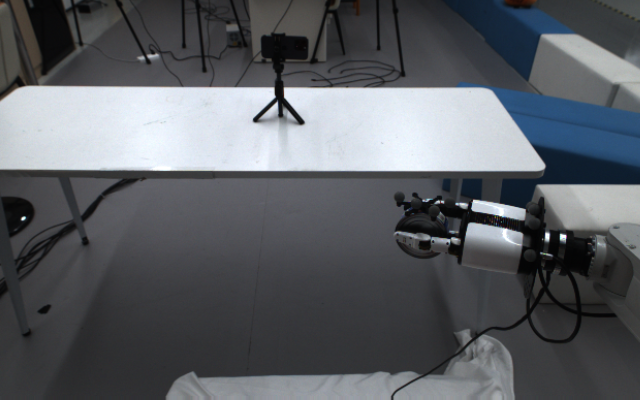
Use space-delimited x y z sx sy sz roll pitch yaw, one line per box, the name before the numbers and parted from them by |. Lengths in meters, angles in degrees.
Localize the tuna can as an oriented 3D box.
tuna can | 0.169 0.050 0.794 0.085 0.085 0.034 14 29 16
